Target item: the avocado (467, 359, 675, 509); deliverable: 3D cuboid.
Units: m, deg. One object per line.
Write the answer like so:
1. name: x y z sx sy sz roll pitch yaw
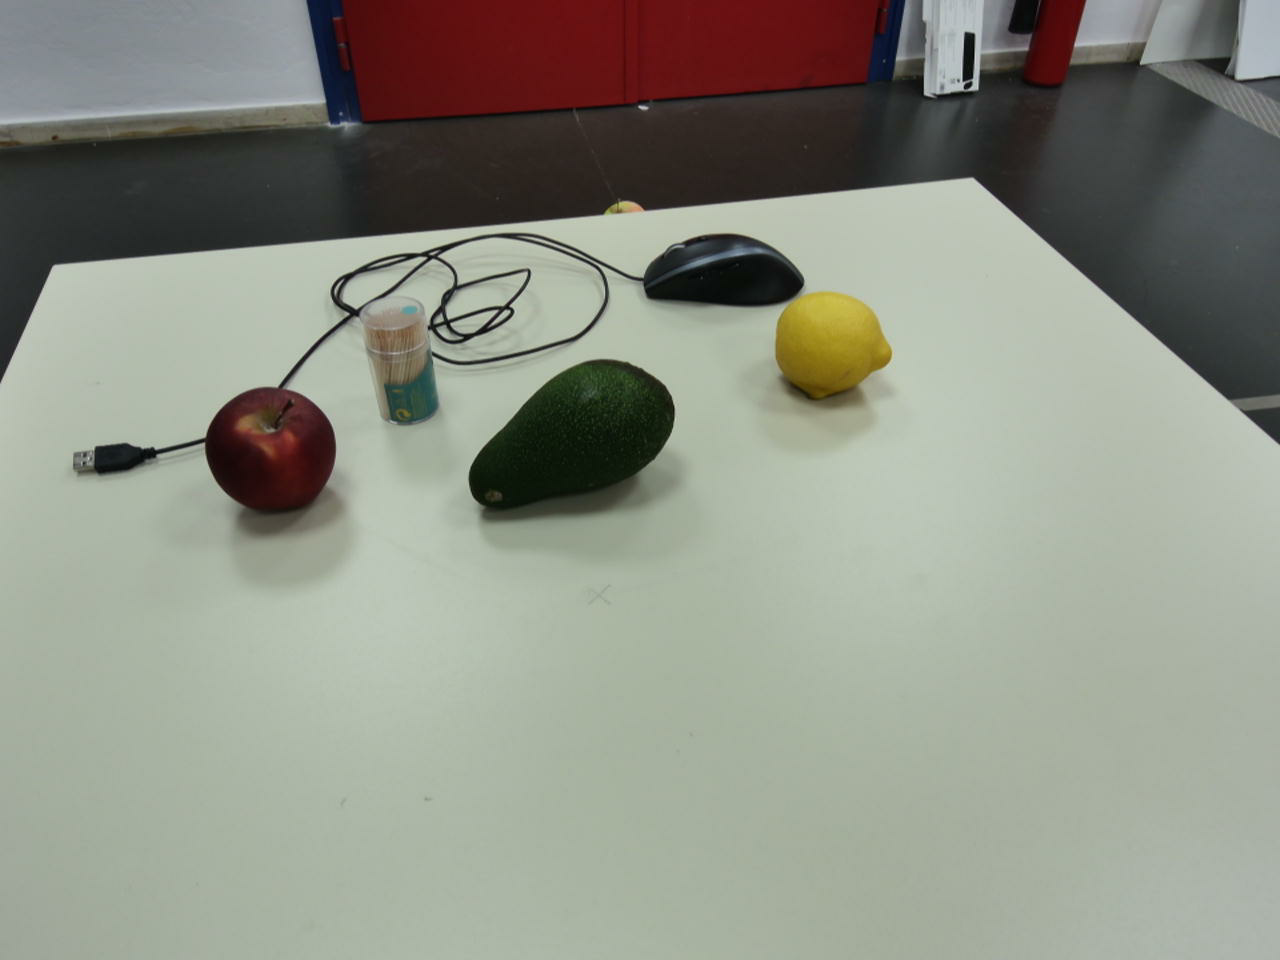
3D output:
1. avocado: -0.040 -0.032 0.586 0.123 0.076 0.074 -3 39 -5
